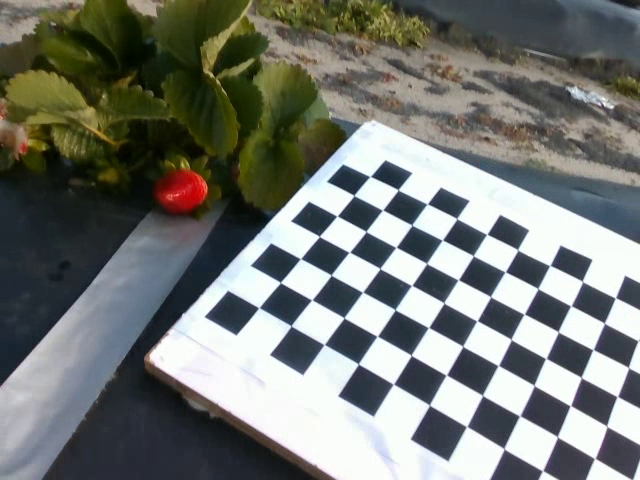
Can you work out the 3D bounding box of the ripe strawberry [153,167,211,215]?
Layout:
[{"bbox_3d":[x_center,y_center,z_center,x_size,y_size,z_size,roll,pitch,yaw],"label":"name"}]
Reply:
[{"bbox_3d":[-0.096,-0.033,0.409,0.050,0.036,0.055,28,36,6],"label":"ripe strawberry"}]
